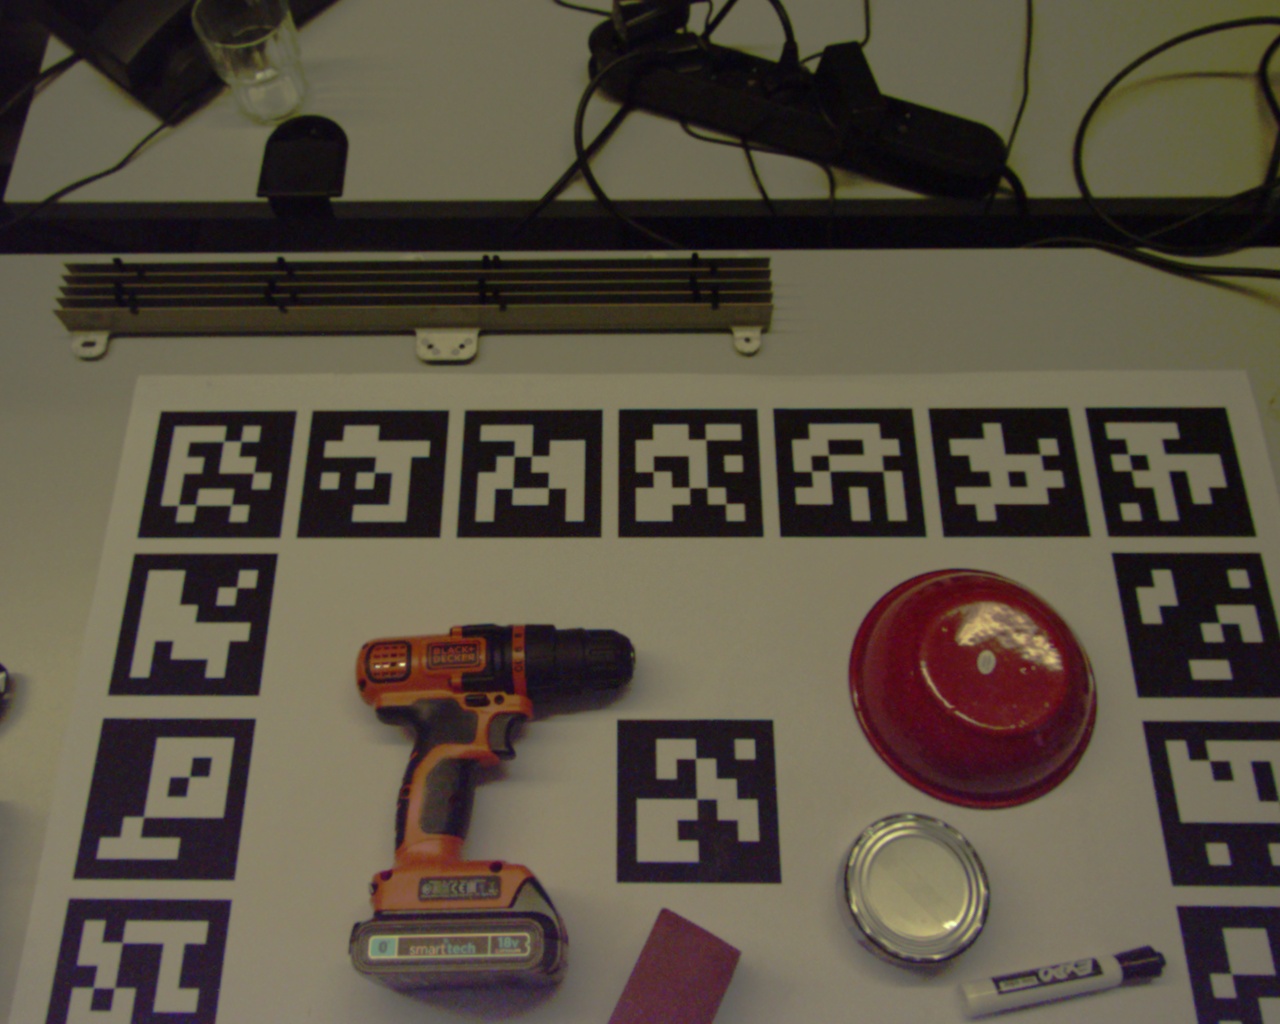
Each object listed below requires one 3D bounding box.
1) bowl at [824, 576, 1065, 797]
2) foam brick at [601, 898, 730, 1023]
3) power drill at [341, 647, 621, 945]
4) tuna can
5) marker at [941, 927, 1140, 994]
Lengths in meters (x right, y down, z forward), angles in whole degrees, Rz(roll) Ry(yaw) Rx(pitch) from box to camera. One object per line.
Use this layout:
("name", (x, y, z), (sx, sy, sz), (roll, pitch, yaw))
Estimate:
("bowl", (0.206, 0.103, 0.761), (0.162, 0.055, 0.162), (-2, 60, 3))
("foam brick", (0.015, 0.280, 0.686), (0.051, 0.052, 0.078), (22, 70, 8))
("power drill", (-0.102, 0.176, 0.728), (0.184, 0.057, 0.187), (-1, 64, -3))
("tuna can", (0.158, 0.223, 0.710), (0.086, 0.033, 0.086), (0, 66, -1))
("marker", (0.245, 0.273, 0.693), (0.121, 0.019, 0.020), (-10, 68, -3))
